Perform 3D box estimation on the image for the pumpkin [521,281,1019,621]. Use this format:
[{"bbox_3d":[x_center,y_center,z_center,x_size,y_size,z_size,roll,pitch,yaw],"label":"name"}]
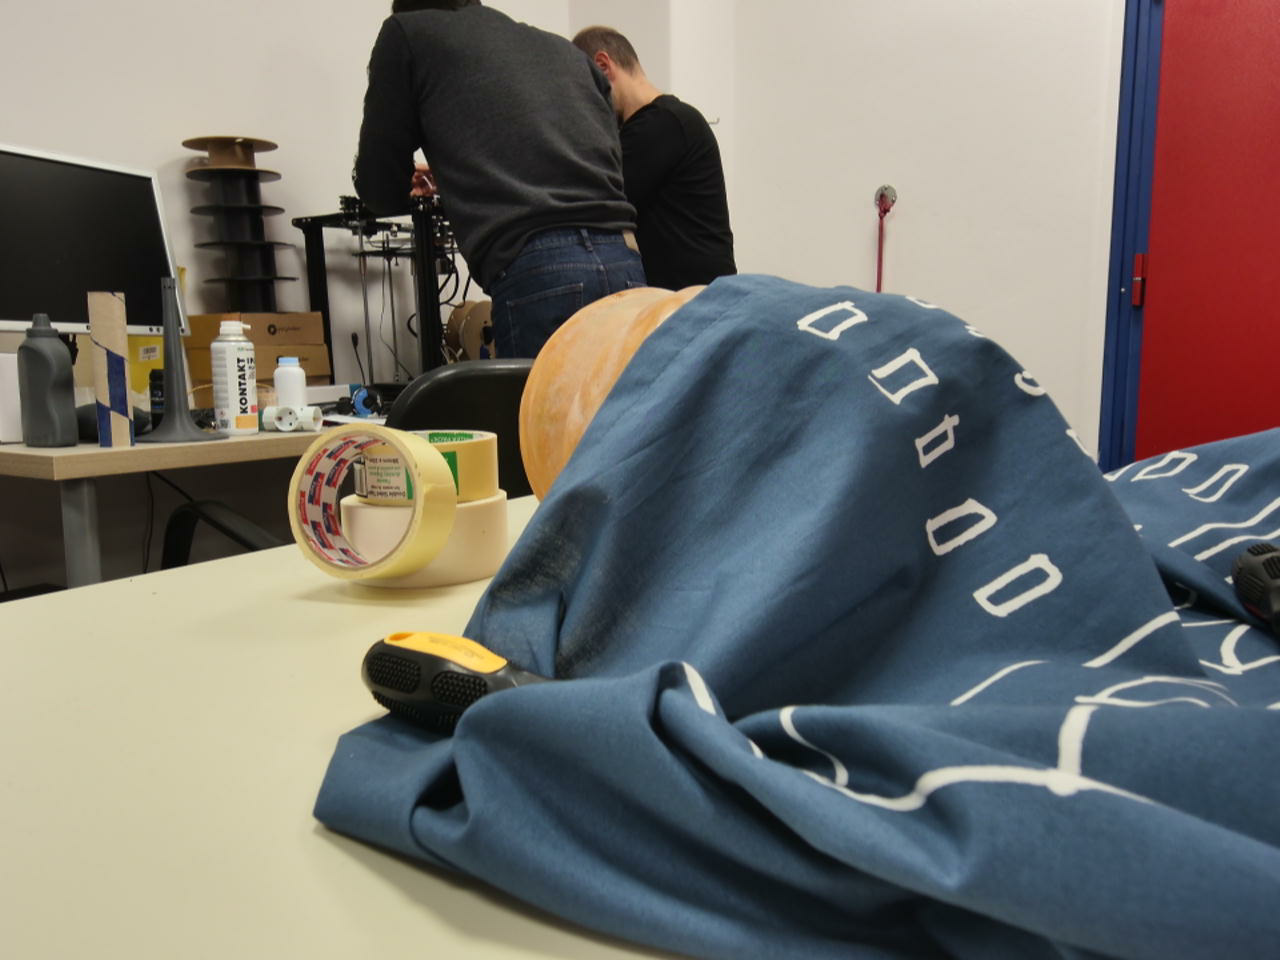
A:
[{"bbox_3d":[0.065,-0.021,0.567,0.277,0.181,0.277,0,6,0],"label":"pumpkin"}]
